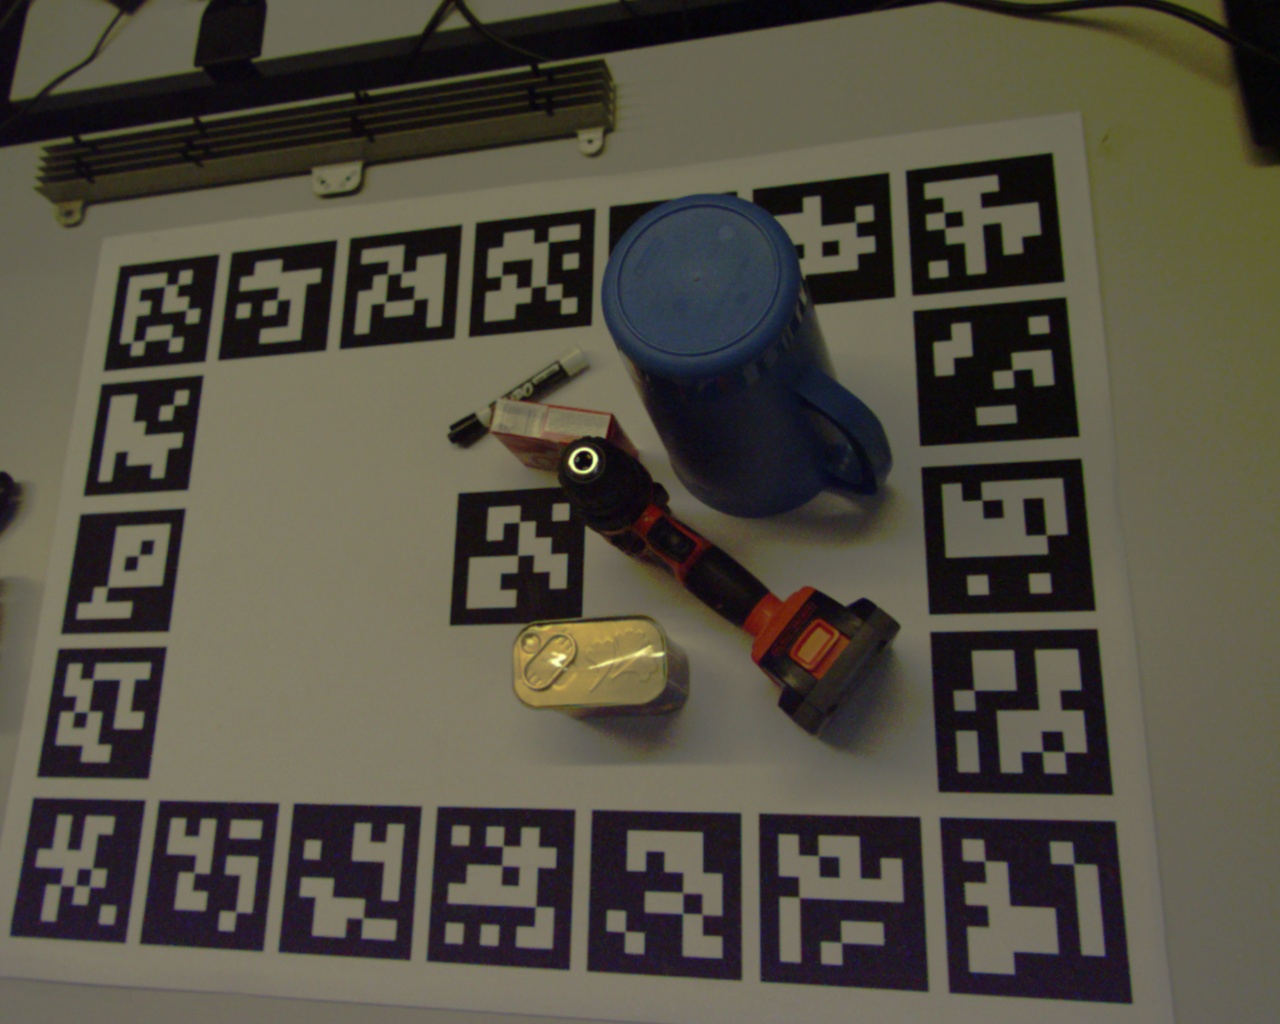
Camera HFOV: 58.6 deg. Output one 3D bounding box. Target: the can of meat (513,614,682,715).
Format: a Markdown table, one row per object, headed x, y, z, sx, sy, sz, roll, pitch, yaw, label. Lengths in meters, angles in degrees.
| x | y | z | sx | sy | sz | roll | pitch | yaw | label |
| --- | --- | --- | --- | --- | --- | --- | --- | --- | --- |
| -0.026 | 0.108 | 0.785 | 0.102 | 0.083 | 0.058 | -4 | 73 | 13 | can of meat |

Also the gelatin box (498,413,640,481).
| x | y | z | sx | sy | sz | roll | pitch | yaw | label |
| --- | --- | --- | --- | --- | --- | --- | --- | --- | --- |
| -0.051 | -0.046 | 0.842 | 0.090 | 0.073 | 0.030 | 8 | 82 | 15 | gelatin box |

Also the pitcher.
| x | y | z | sx | sy | sz | roll | pitch | yaw | label |
| --- | --- | --- | --- | --- | --- | --- | --- | --- | --- |
| 0.071 | -0.078 | 0.734 | 0.191 | 0.240 | 0.133 | 30 | 88 | 26 | pitcher |

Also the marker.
| x | y | z | sx | sy | sz | roll | pitch | yaw | label |
| --- | --- | --- | --- | --- | --- | --- | --- | --- | --- |
| -0.098 | -0.090 | 0.892 | 0.121 | 0.019 | 0.020 | -30 | 71 | 7 | marker |

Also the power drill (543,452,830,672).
| x | y | z | sx | sy | sz | roll | pitch | yaw | label |
| --- | --- | --- | --- | --- | --- | --- | --- | --- | --- |
| 0.030 | 0.030 | 0.741 | 0.188 | 0.183 | 0.057 | 33 | 88 | 14 | power drill |
